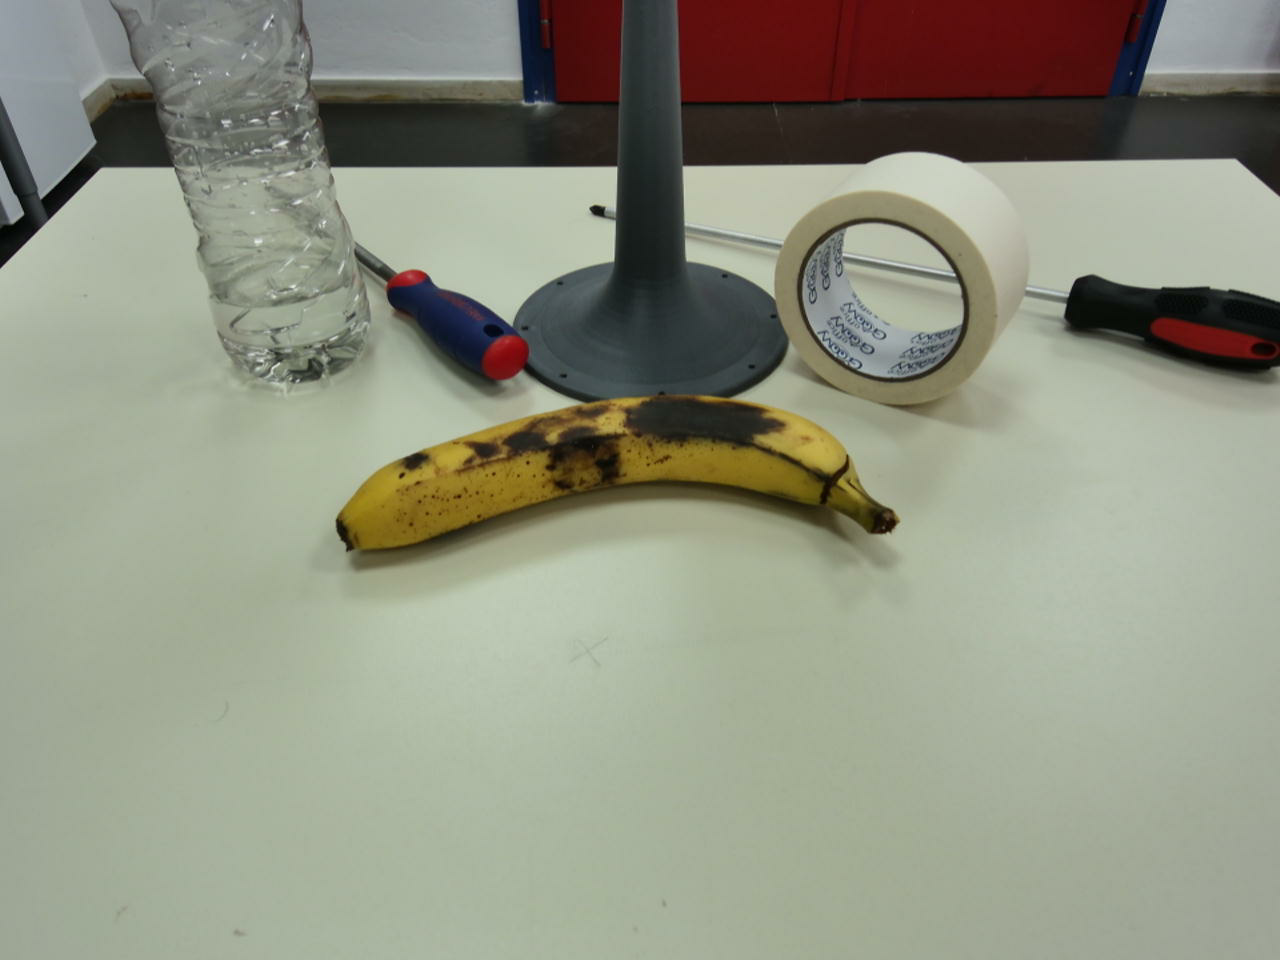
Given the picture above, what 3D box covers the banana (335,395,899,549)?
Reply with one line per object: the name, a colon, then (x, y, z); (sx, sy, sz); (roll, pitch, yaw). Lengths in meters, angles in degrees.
banana: (-0.010, -0.006, 0.424); (0.222, 0.037, 0.084); (0, 38, 0)
